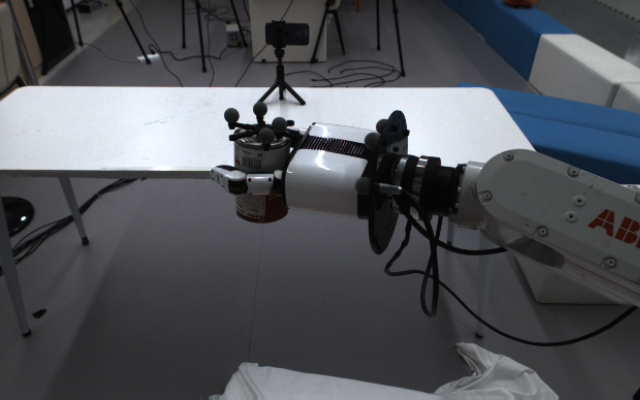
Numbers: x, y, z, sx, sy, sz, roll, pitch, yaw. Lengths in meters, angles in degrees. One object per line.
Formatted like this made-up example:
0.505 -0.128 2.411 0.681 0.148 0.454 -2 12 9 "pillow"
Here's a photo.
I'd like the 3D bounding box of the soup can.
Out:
-0.068 -0.032 0.585 0.067 0.101 0.067 3 30 -2 "soup can"
